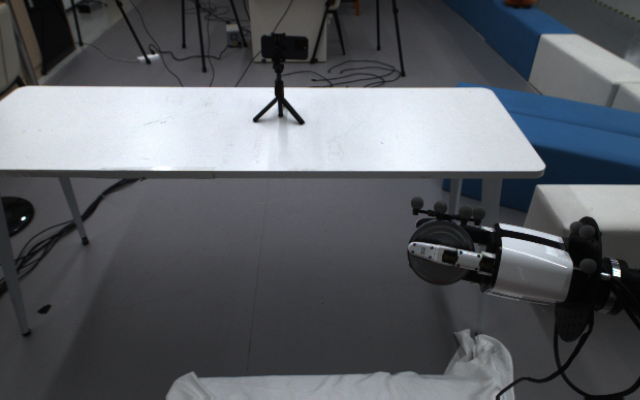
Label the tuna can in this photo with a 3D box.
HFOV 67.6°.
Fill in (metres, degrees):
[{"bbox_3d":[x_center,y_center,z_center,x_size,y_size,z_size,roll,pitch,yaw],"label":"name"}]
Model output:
[{"bbox_3d":[0.162,0.064,0.643,0.085,0.085,0.034,10,3,12],"label":"tuna can"}]
